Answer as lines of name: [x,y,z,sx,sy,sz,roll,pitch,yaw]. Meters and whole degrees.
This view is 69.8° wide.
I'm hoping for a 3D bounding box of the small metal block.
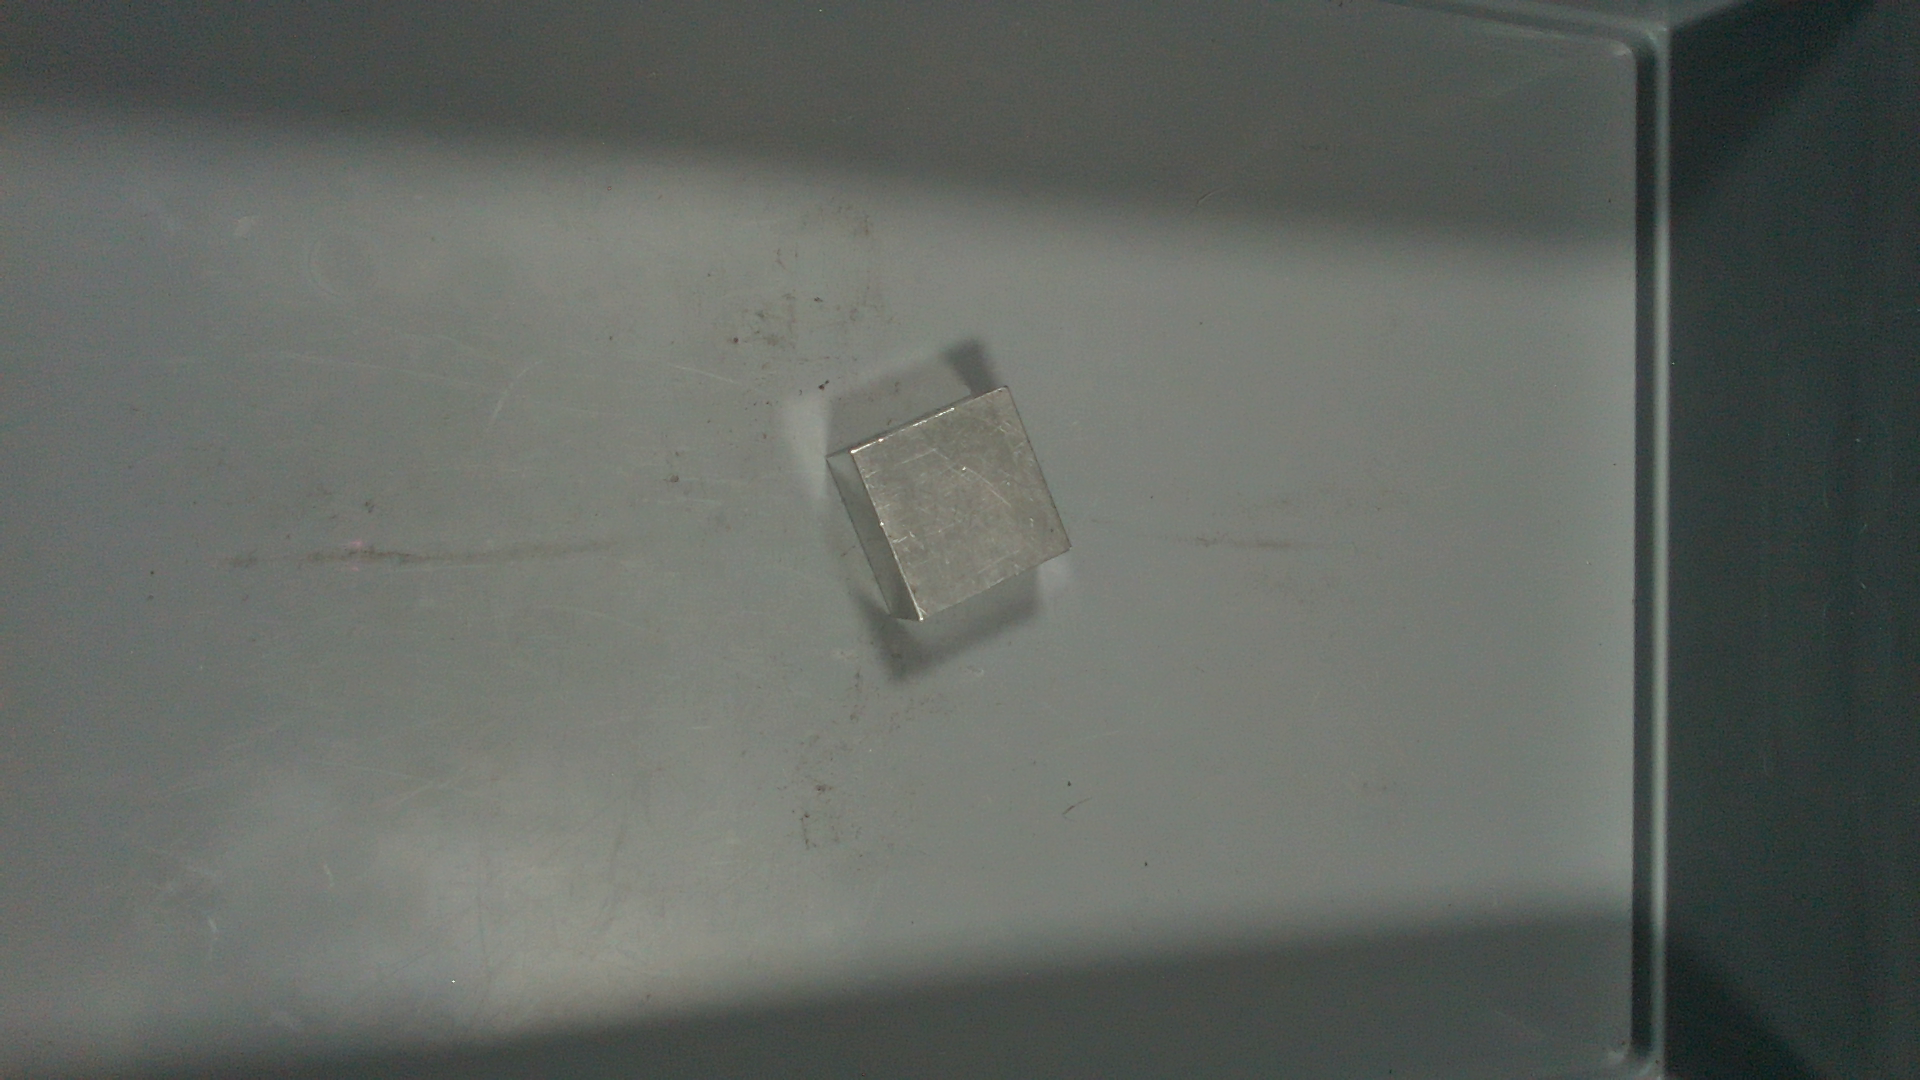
small metal block: [-0.003,-0.011,0.389,0.050,0.025,0.050,-25,98,-18]
